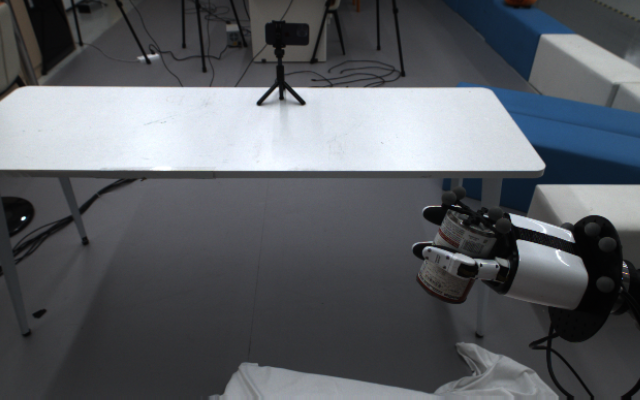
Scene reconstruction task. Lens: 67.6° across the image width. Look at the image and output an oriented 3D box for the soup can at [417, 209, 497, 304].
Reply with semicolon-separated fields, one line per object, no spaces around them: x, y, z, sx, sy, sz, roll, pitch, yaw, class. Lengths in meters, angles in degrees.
0.173;0.068;0.604;0.067;0.101;0.067;17;21;-7;soup can
